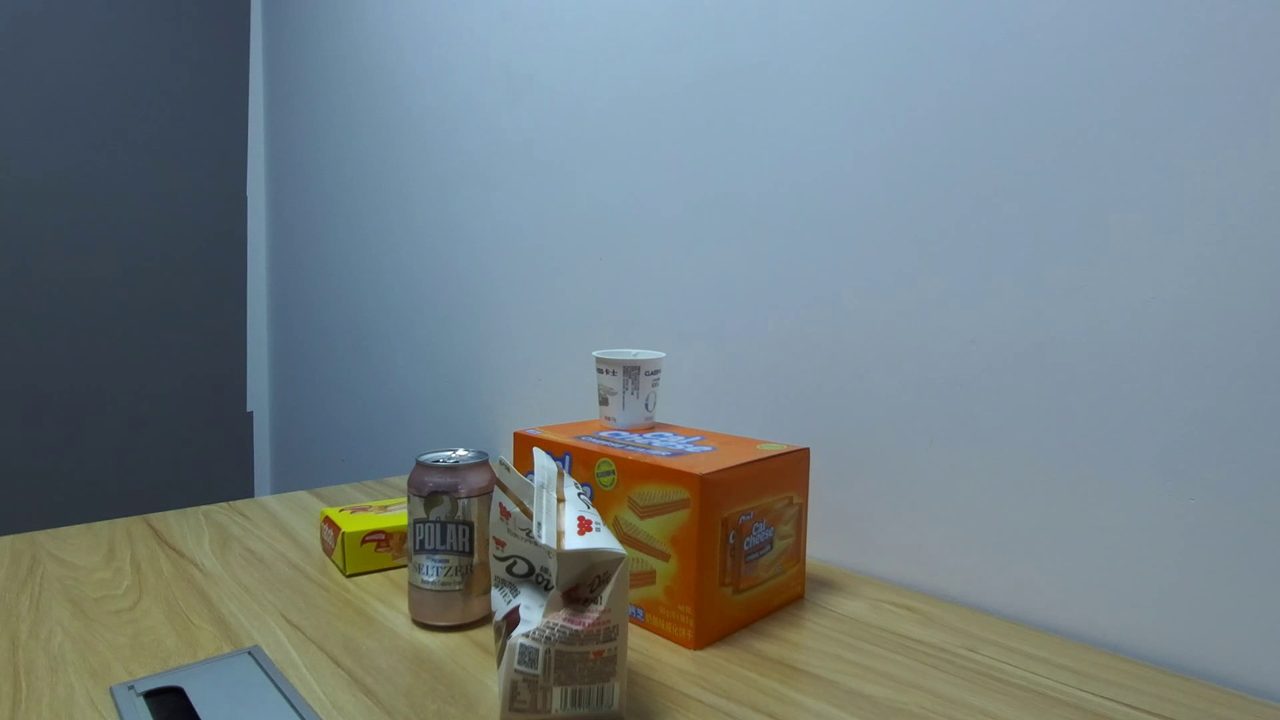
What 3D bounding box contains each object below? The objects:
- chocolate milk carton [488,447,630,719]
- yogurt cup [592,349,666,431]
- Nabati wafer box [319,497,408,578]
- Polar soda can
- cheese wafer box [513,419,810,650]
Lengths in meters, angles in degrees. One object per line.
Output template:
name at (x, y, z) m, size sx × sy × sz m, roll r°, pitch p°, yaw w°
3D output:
chocolate milk carton at (-0.051, 0.136, 0.422) m, size 0.077 × 0.155 × 0.089 m, roll -4°, pitch 19°, yaw -11°
yogurt cup at (-0.011, 0.028, 0.672) m, size 0.072 × 0.068 × 0.072 m, roll 1°, pitch 7°, yaw 0°
Nabati wafer box at (-0.197, 0.163, 0.699) m, size 0.204 × 0.042 × 0.096 m, roll -2°, pitch 4°, yaw -32°
Polar soda can at (-0.143, 0.134, 0.541) m, size 0.067 × 0.125 × 0.067 m, roll 2°, pitch 5°, yaw 0°
cheese wafer box at (0.013, 0.131, 0.609) m, size 0.221 × 0.129 × 0.149 m, roll 6°, pitch 6°, yaw 44°
